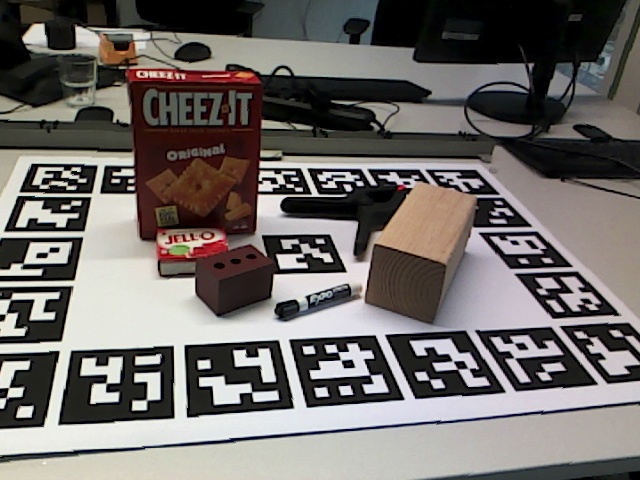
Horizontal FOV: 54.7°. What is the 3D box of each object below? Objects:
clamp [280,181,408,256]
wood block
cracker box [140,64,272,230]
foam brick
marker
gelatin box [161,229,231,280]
[{"bbox_3d":[0.065,-0.050,0.942,0.202,0.036,0.166,-23,43,-37],"label":"clamp"},{"bbox_3d":[0.135,0.012,0.815,0.090,0.091,0.206,16,31,18],"label":"wood block"},{"bbox_3d":[-0.158,-0.121,0.838,0.163,0.213,0.072,-2,32,-17],"label":"cracker box"},{"bbox_3d":[-0.104,0.049,0.739,0.077,0.051,0.053,-17,41,-33],"label":"foam brick"},{"bbox_3d":[-0.012,0.076,0.742,0.120,0.019,0.020,-14,39,-29],"label":"marker"},{"bbox_3d":[-0.162,0.017,0.805,0.089,0.030,0.073,-2,35,-14],"label":"gelatin box"}]
